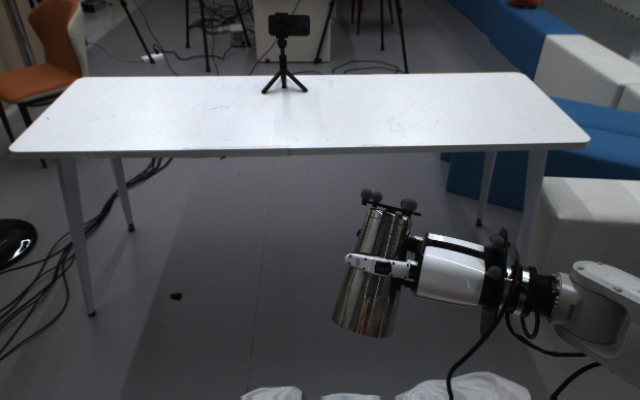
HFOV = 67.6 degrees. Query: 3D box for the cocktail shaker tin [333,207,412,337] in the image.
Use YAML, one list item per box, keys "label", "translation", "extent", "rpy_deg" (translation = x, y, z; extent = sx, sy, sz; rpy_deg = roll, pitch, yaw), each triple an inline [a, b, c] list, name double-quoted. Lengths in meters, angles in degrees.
- label: "cocktail shaker tin"
  translation: [0.081, 0.101, 0.706]
  extent: [0.093, 0.170, 0.093]
  rpy_deg: [14, 2, 0]
